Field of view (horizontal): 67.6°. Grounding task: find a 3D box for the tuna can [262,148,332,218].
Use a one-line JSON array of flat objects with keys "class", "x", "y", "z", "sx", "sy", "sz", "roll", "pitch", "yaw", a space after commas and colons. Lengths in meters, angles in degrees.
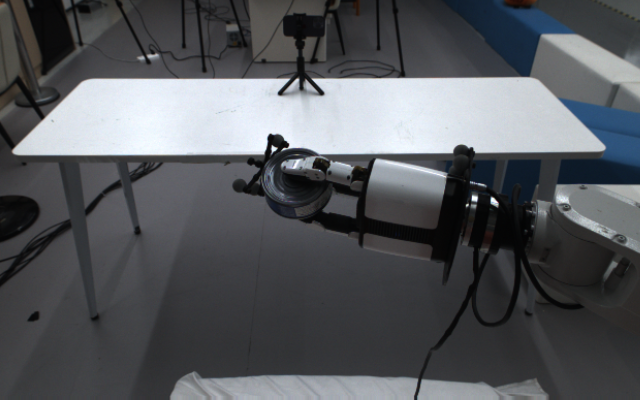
[{"class": "tuna can", "x": -0.024, "y": -0.017, "z": 0.590, "sx": 0.085, "sy": 0.034, "sz": 0.085, "roll": -1, "pitch": 61, "yaw": 1}]
